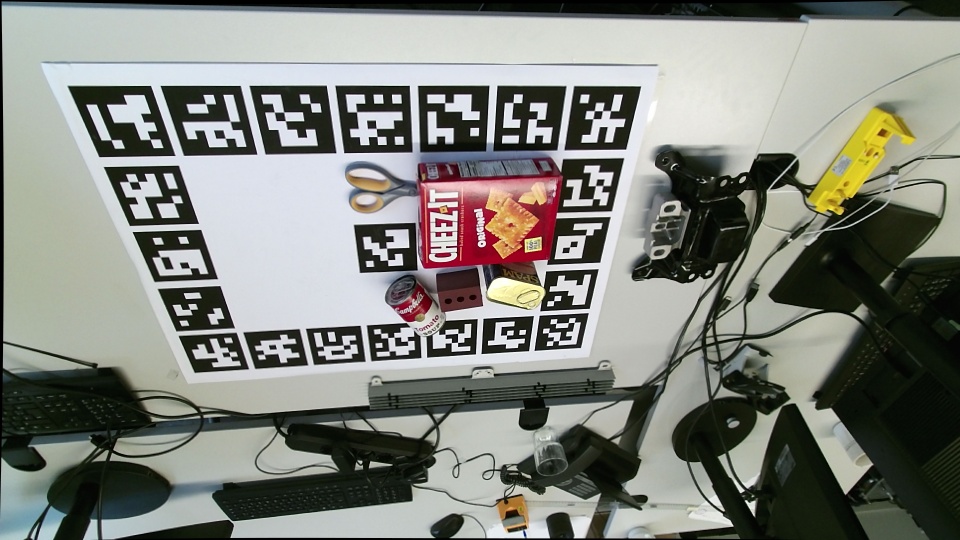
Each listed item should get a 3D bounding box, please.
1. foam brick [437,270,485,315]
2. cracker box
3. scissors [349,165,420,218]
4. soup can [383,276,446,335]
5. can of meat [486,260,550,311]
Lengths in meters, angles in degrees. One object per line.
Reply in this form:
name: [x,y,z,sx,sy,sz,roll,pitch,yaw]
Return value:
foam brick: [-0.035,0.040,0.968,0.078,0.051,0.053,-11,125,-1]
cracker box: [0.019,-0.088,0.853,0.214,0.071,0.164,-9,127,-8]
scissors: [-0.099,-0.130,0.843,0.203,0.016,0.088,-6,125,-5]
soup can: [-0.117,0.066,0.972,0.068,0.067,0.102,-33,129,14]
can of meat: [0.064,0.020,0.946,0.102,0.083,0.058,10,122,-15]
